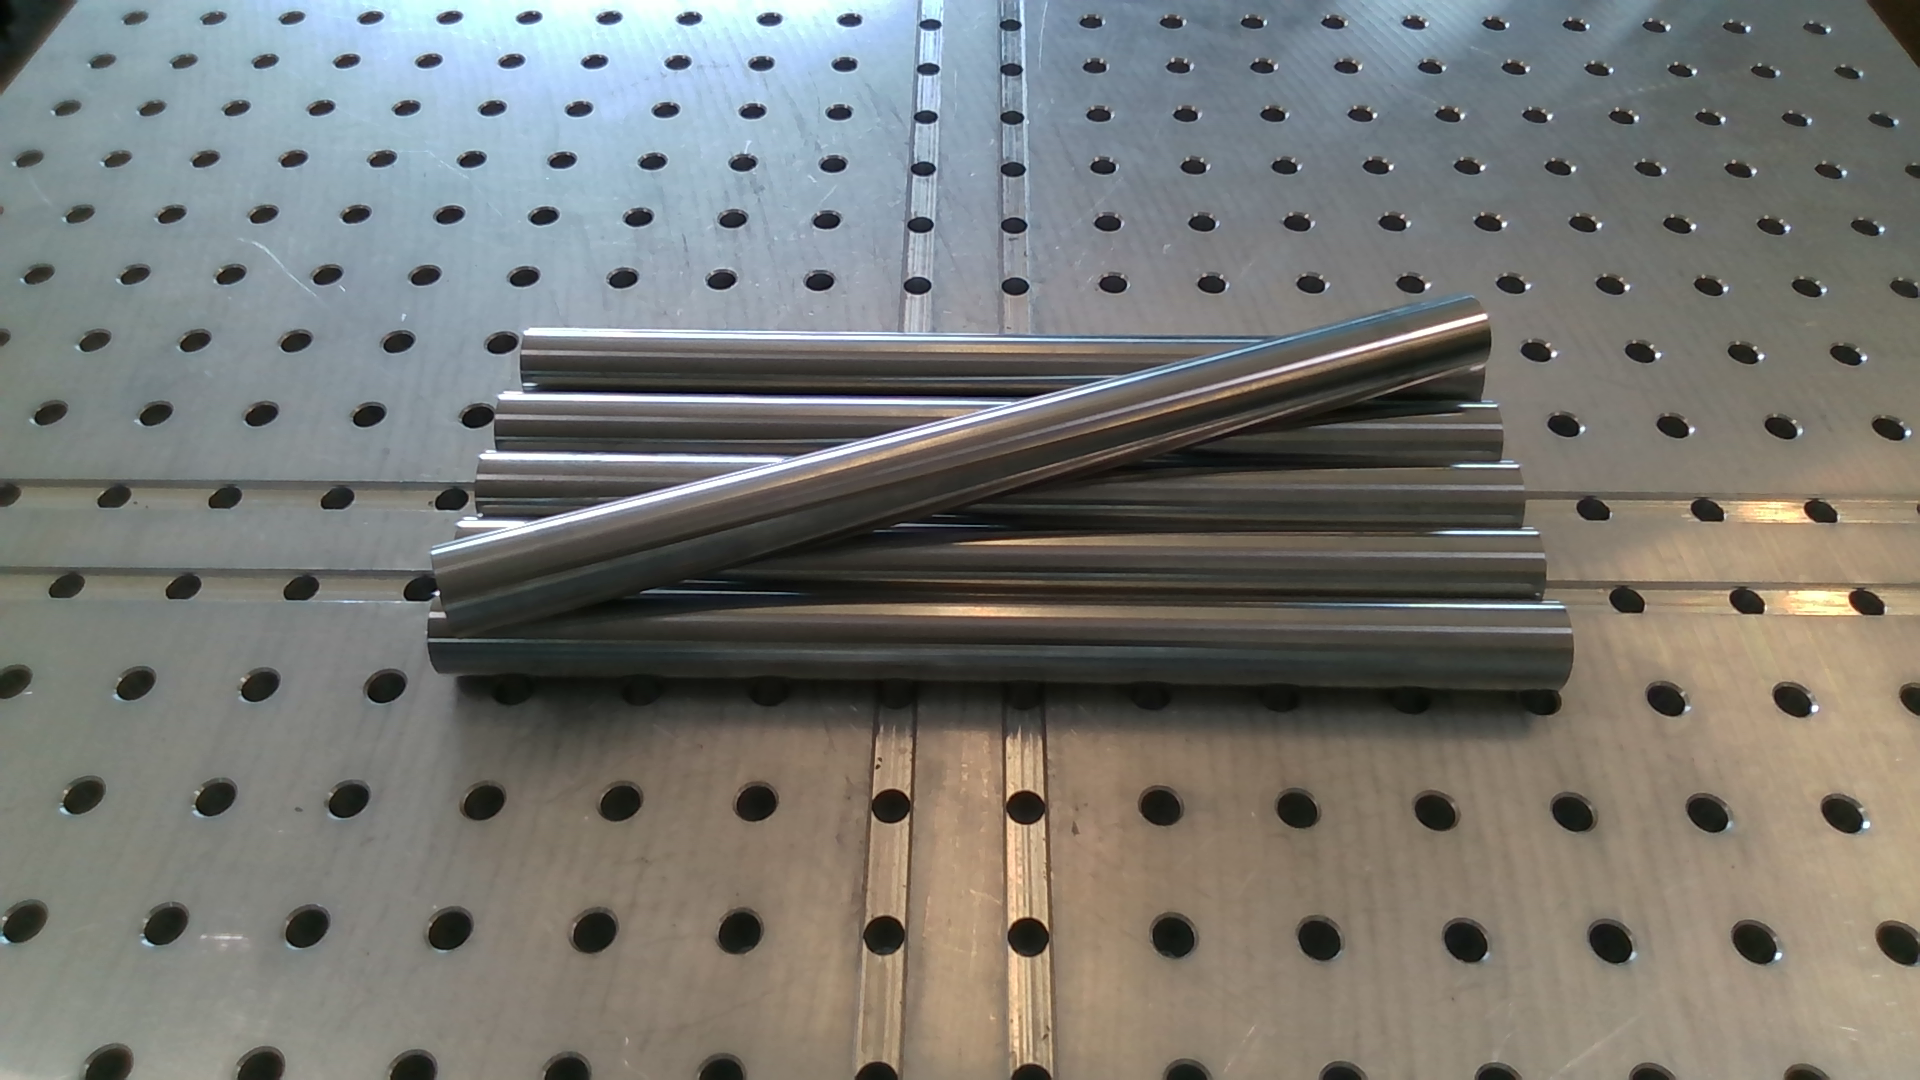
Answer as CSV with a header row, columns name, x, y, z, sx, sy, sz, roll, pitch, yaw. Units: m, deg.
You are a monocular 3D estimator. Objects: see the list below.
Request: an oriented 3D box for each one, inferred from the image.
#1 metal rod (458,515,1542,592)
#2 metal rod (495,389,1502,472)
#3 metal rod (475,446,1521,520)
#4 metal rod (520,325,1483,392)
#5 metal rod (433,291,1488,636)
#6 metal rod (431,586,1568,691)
name,x,y,z,sx,sy,sz,roll,pitch,yaw
metal rod,0.010,0.006,0.392,0.300,0.025,0.025,1,50,0
metal rod,0.011,-0.033,0.423,0.300,0.025,0.025,1,50,0
metal rod,0.010,-0.014,0.407,0.300,0.025,0.025,1,50,0
metal rod,0.013,-0.055,0.442,0.300,0.025,0.025,1,50,1
metal rod,0.010,-0.025,0.385,0.300,0.025,0.025,-15,52,-12
metal rod,0.010,0.026,0.376,0.300,0.025,0.025,1,50,1
